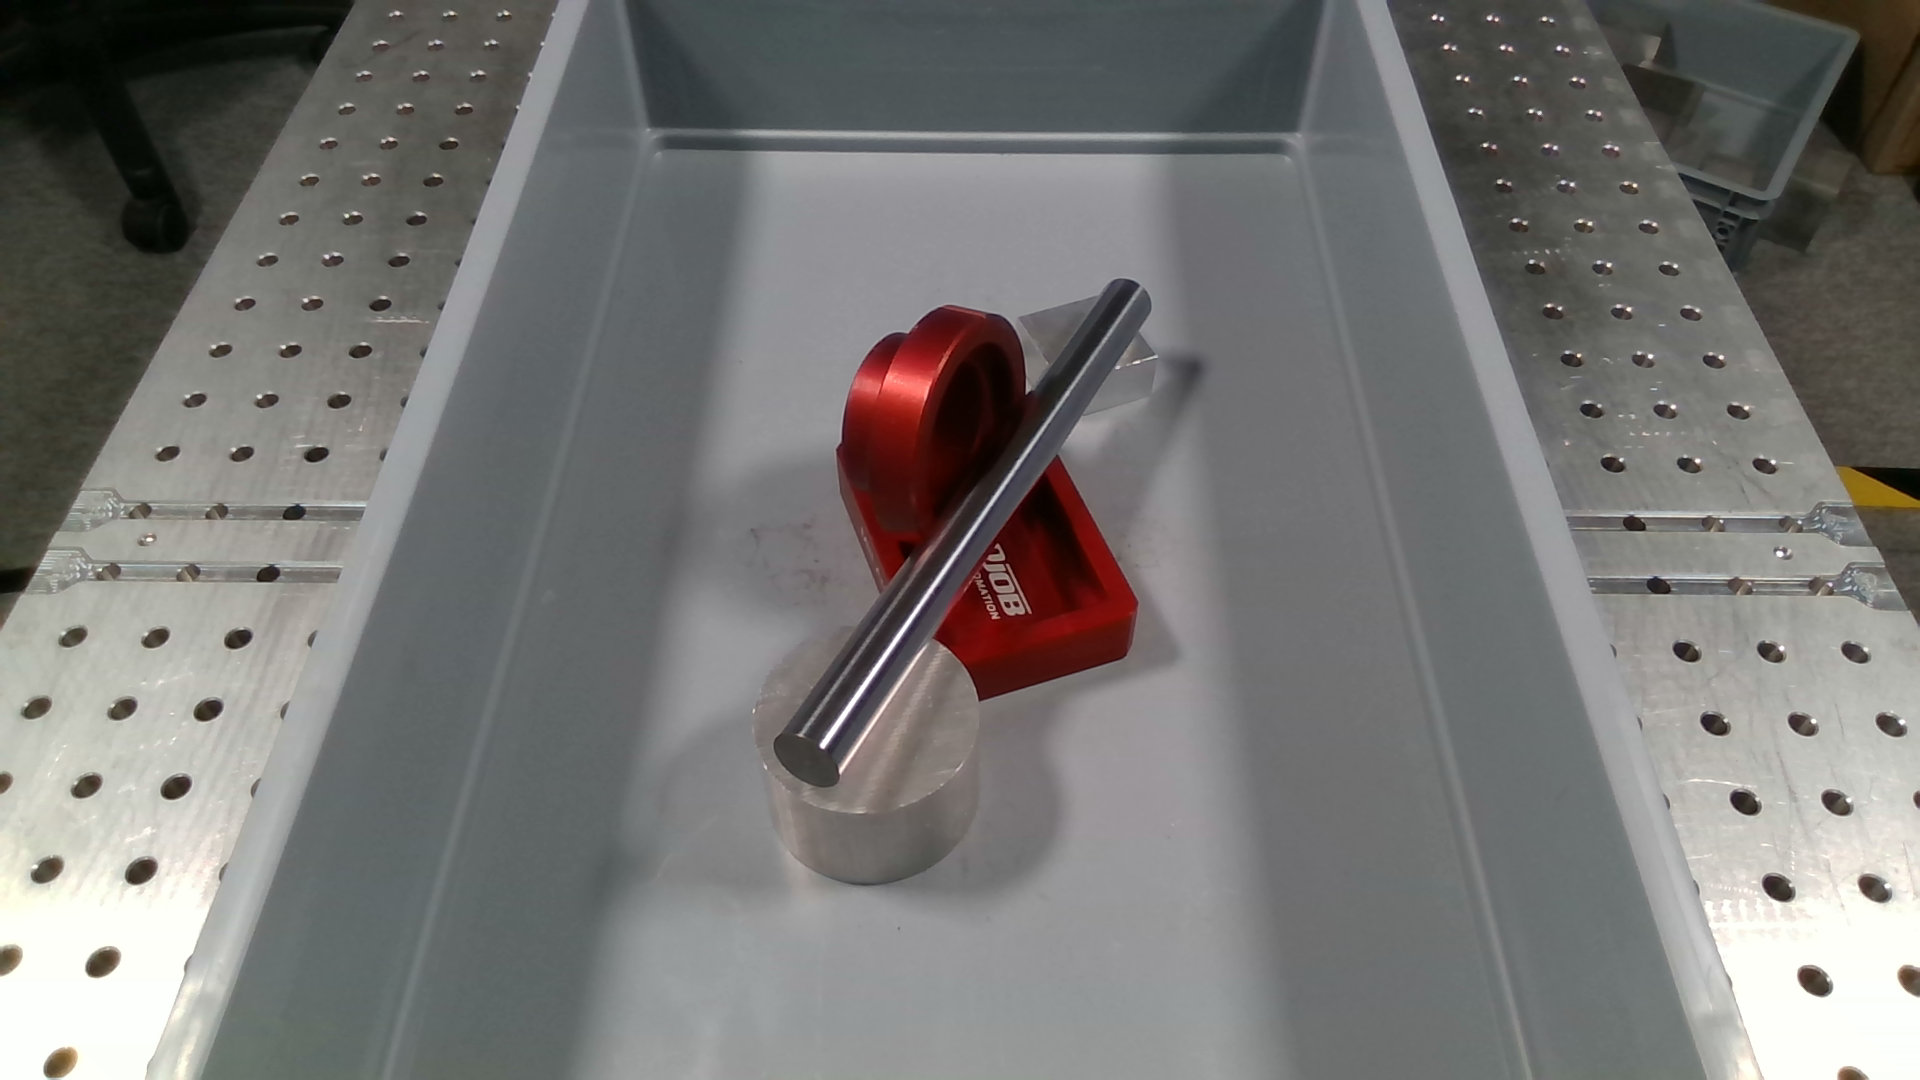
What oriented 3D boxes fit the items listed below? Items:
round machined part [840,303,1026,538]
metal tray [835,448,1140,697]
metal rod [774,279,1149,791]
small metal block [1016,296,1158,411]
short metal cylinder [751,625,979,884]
[{"bbox_3d":[-0.013,-0.048,0.561,0.042,0.098,0.098,17,52,23],"label":"round machined part"},{"bbox_3d":[0.008,0.002,0.580,0.090,0.030,0.130,-15,52,-12],"label":"metal tray"},{"bbox_3d":[0.014,-0.019,0.548,0.025,0.025,0.299,20,47,16],"label":"metal rod"},{"bbox_3d":[0.059,-0.088,0.659,0.050,0.025,0.050,-17,52,-14],"label":"small metal block"},{"bbox_3d":[-0.033,0.078,0.504,0.080,0.050,0.080,0,50,0],"label":"short metal cylinder"}]
